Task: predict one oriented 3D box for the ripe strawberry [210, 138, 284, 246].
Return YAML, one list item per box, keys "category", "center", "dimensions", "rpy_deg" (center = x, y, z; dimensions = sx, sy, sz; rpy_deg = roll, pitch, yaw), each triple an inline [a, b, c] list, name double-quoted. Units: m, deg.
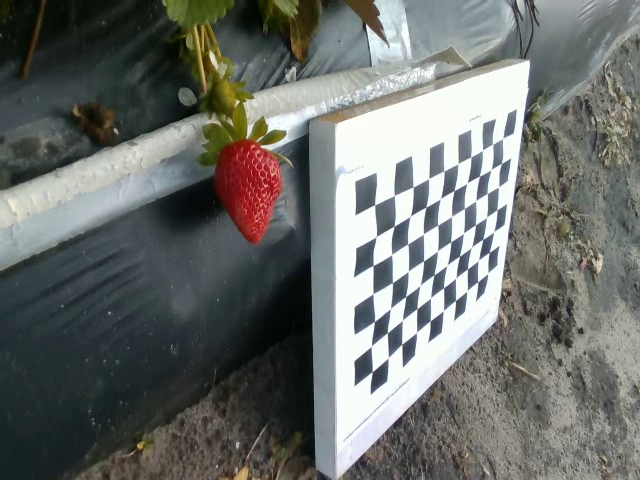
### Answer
- category: "ripe strawberry"
  center: [-0.031, -0.022, 0.283]
  dimensions: [0.030, 0.052, 0.048]
  rpy_deg: [-10, -23, 27]
